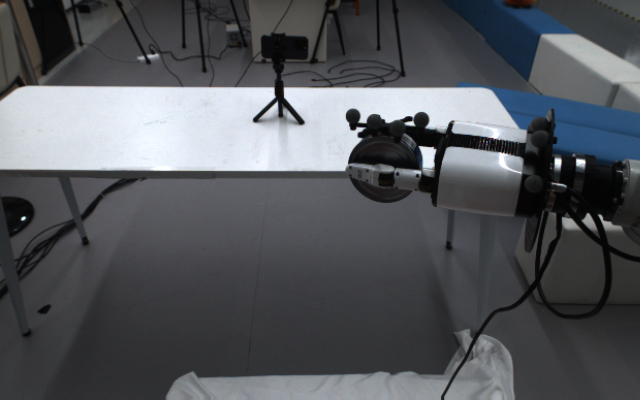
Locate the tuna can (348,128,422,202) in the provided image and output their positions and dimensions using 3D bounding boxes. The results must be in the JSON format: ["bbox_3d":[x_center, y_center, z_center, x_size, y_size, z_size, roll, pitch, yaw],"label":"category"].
[{"bbox_3d":[0.080,-0.045,0.582,0.085,0.085,0.034,13,29,16],"label":"tuna can"}]
